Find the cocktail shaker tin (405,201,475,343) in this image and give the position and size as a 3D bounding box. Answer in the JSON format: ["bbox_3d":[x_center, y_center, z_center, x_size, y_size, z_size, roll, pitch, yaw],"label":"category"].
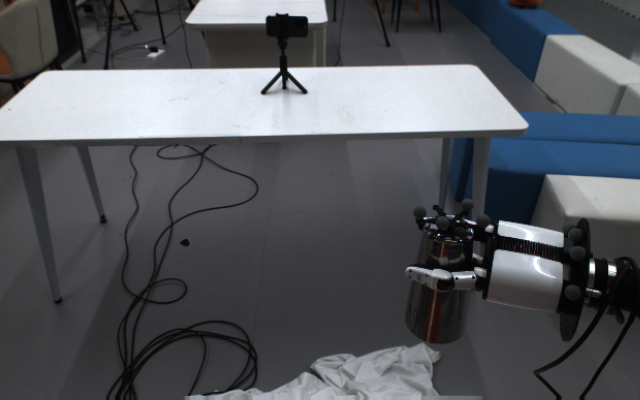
[{"bbox_3d":[0.176,0.106,0.689,0.093,0.170,0.093,-1,32,1],"label":"cocktail shaker tin"}]
